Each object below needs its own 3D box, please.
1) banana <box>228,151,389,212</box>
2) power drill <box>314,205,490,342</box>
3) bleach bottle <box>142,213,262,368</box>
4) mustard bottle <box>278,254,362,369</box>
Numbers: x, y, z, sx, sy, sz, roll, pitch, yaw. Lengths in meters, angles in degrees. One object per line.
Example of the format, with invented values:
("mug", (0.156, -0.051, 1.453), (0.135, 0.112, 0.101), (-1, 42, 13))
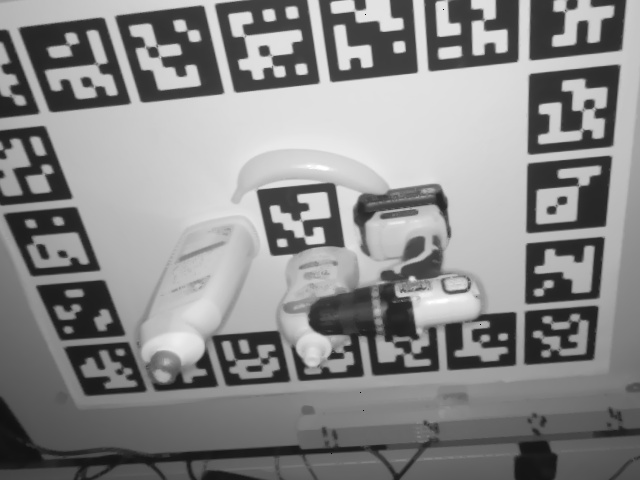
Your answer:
("banana", (-0.016, -0.072, 0.837), (0.197, 0.039, 0.074), (-2, 115, 3))
("power drill", (0.092, 0.038, 0.784), (0.184, 0.189, 0.057), (-5, 125, 10))
("bleach bottle", (-0.138, 0.057, 0.807), (0.102, 0.253, 0.067), (-11, 117, 11))
("mustard bottle", (-0.001, 0.088, 0.839), (0.096, 0.193, 0.058), (-3, 119, 8))
